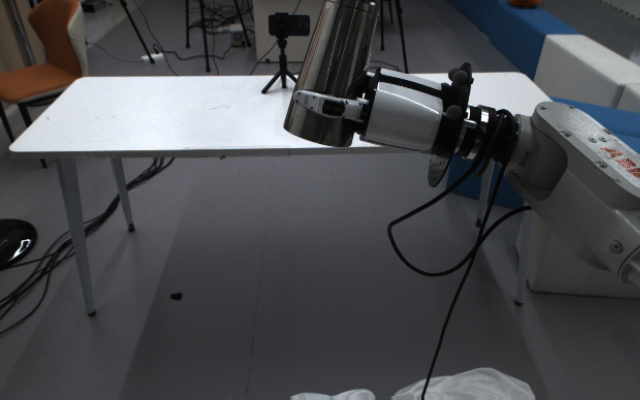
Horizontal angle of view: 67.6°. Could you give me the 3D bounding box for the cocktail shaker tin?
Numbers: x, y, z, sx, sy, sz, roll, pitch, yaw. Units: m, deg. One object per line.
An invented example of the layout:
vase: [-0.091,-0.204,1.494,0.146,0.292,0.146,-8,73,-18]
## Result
cocktail shaker tin: [0.019,-0.163,0.601,0.093,0.170,0.093,14,20,-5]
